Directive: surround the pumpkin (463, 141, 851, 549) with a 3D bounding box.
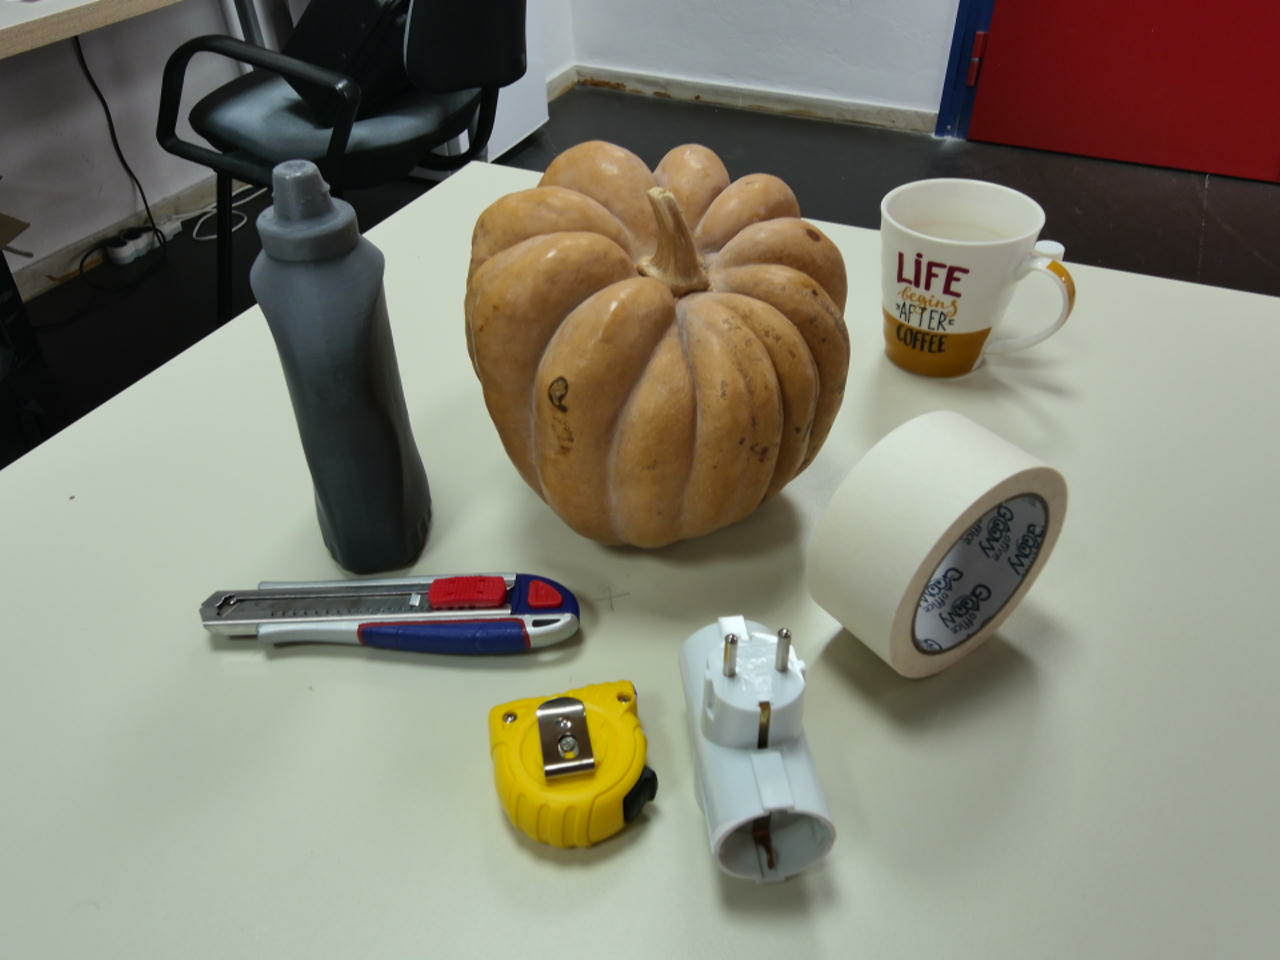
[{"bbox_3d":[0.007,-0.065,0.496,0.199,0.177,0.198,0,38,0],"label":"pumpkin"}]
